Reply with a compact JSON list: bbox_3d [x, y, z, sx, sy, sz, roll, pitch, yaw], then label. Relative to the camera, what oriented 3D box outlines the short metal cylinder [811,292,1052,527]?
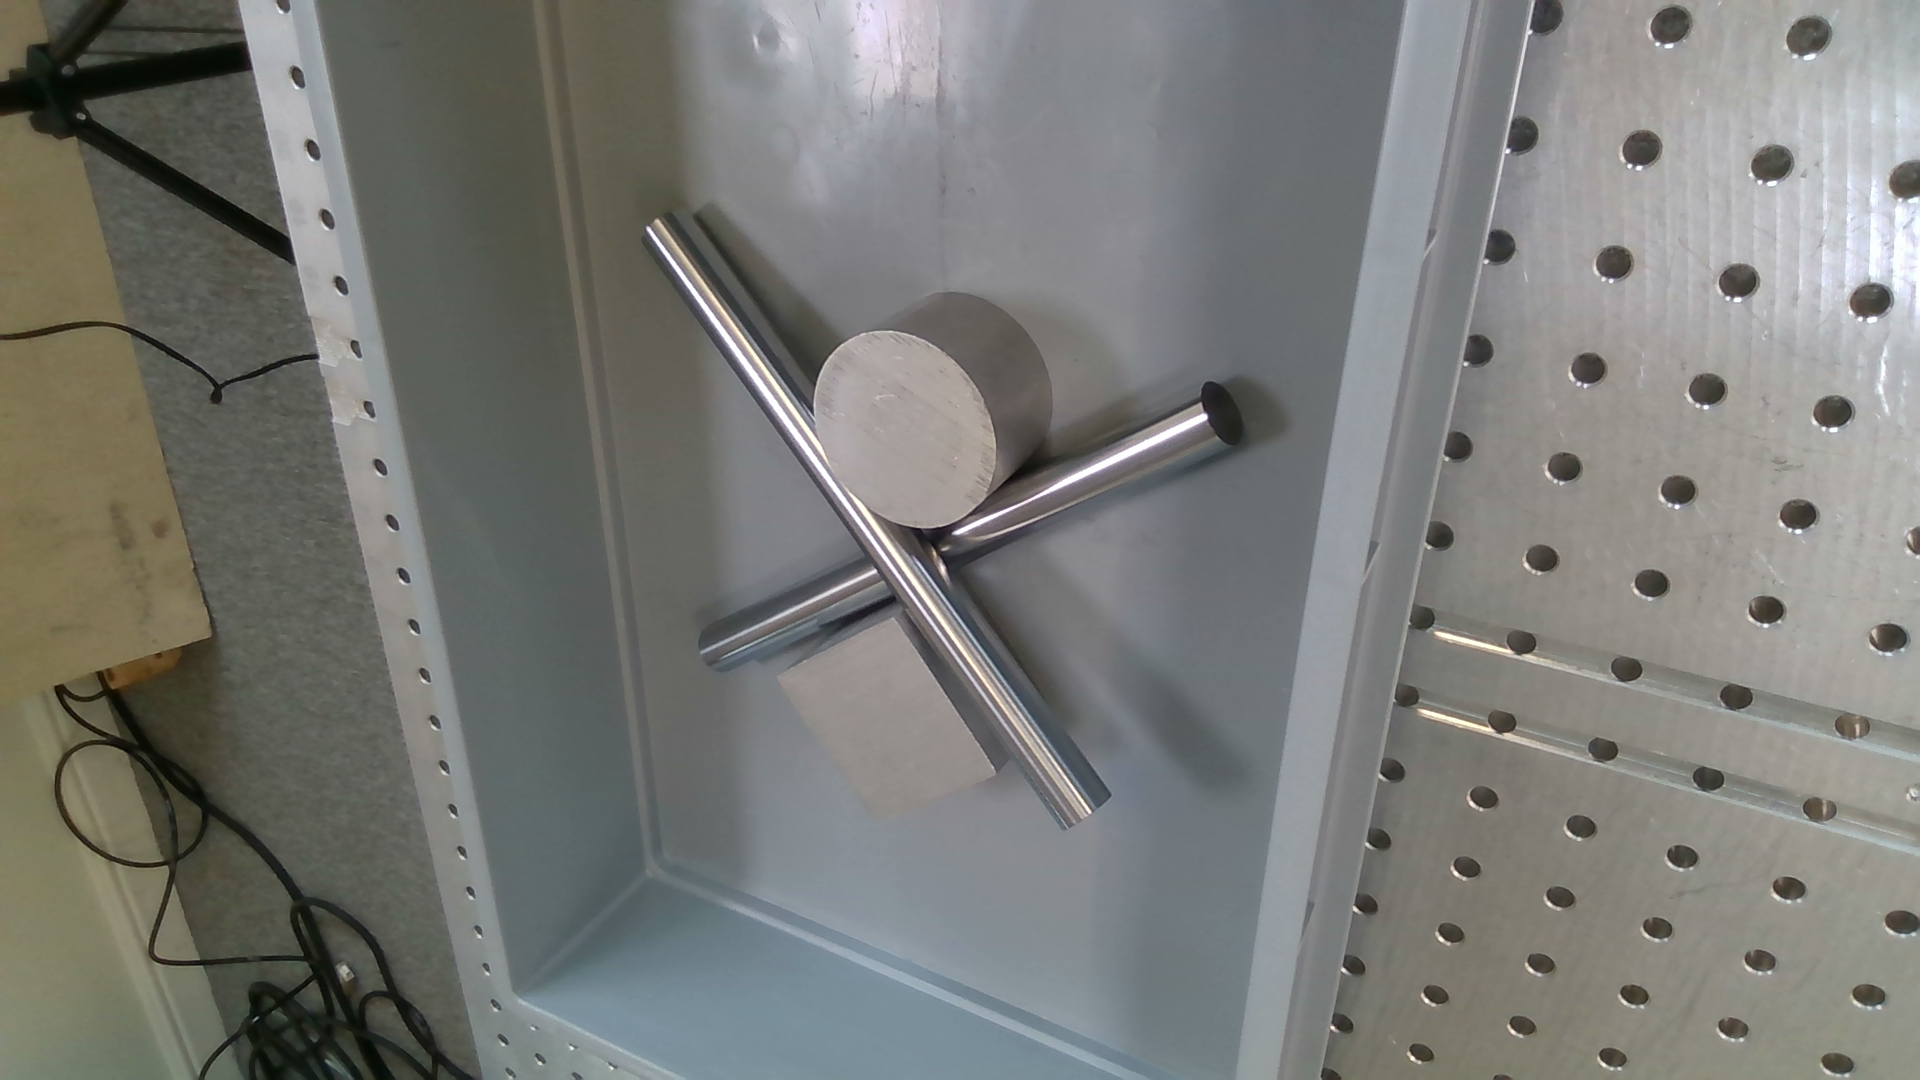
[{"bbox_3d":[-0.011,-0.052,0.541,0.080,0.050,0.080,14,122,25],"label":"short metal cylinder"}]

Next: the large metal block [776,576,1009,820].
[{"bbox_3d":[-0.021,0.068,0.612,0.080,0.050,0.080,-28,99,39],"label":"large metal block"}]

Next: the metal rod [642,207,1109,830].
[{"bbox_3d":[-0.037,-0.012,0.568,0.025,0.025,0.300,-41,82,39],"label":"metal rod"}]

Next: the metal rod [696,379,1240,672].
[{"bbox_3d":[-0.013,0.004,0.588,0.300,0.025,0.025,-25,101,38],"label":"metal rod"}]
